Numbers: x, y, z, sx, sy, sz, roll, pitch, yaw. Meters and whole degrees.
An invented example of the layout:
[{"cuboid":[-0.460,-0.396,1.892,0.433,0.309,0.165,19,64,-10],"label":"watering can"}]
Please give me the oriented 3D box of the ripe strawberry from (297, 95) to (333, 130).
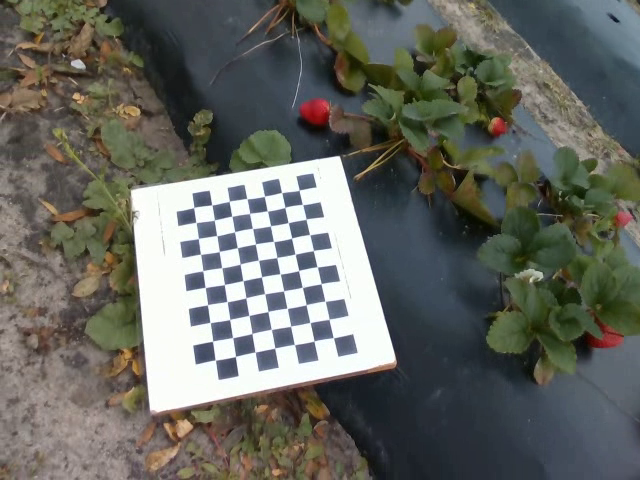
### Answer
[{"cuboid":[-0.008,-0.126,0.587,0.032,0.029,0.023,3,-32,-1],"label":"ripe strawberry"}]
